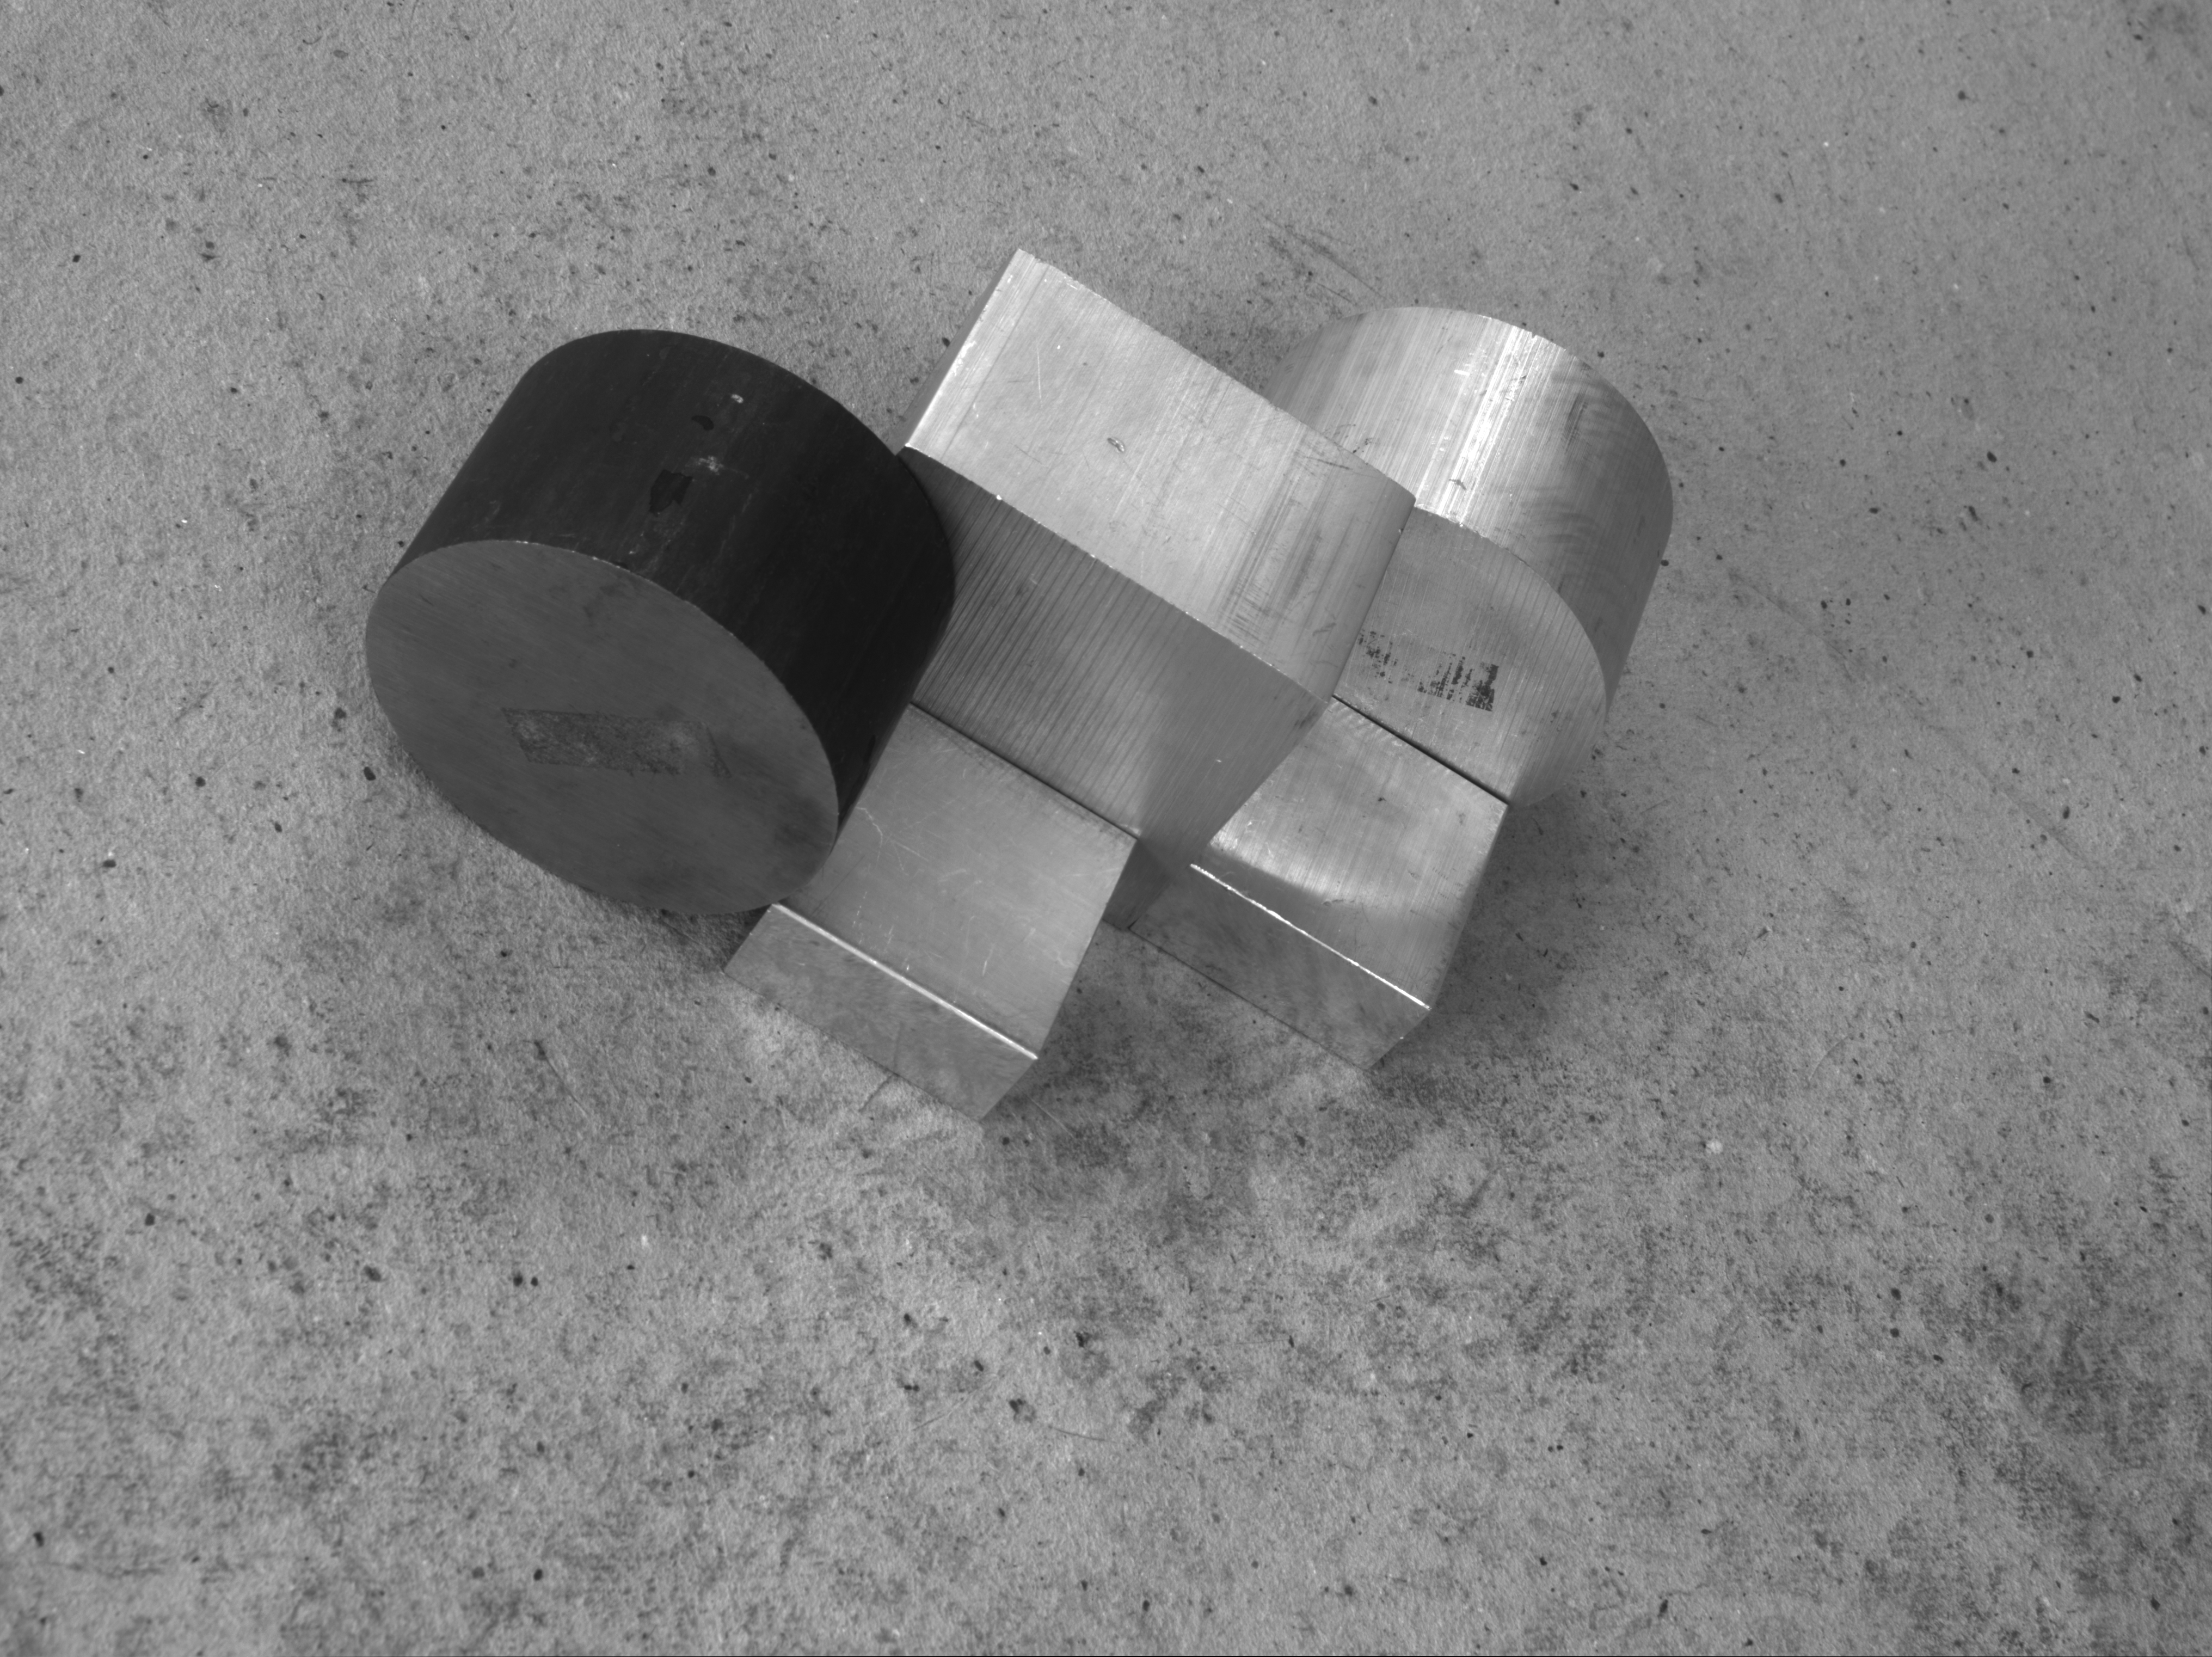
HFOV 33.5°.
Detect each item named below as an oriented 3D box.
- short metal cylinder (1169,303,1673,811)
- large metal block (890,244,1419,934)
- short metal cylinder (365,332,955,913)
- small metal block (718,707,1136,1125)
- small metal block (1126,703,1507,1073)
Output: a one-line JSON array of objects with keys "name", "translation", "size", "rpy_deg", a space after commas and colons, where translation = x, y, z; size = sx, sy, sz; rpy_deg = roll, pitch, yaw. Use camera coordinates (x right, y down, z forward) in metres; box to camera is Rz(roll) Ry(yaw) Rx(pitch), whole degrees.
[{"name": "short metal cylinder", "translation": [0.057, -0.048, 0.664], "size": [0.080, 0.080, 0.050], "rpy_deg": [31, 52, -8]}, {"name": "large metal block", "translation": [-0.006, -0.039, 0.626], "size": [0.080, 0.080, 0.050], "rpy_deg": [31, 51, -8]}, {"name": "short metal cylinder", "translation": [-0.070, -0.032, 0.587], "size": [0.080, 0.080, 0.050], "rpy_deg": [31, 52, -8]}, {"name": "small metal block", "translation": [-0.030, 0.013, 0.617], "size": [0.050, 0.025, 0.050], "rpy_deg": [31, 52, -8]}, {"name": "small metal block", "translation": [0.038, 0.007, 0.657], "size": [0.050, 0.025, 0.050], "rpy_deg": [31, 52, -8]}]
